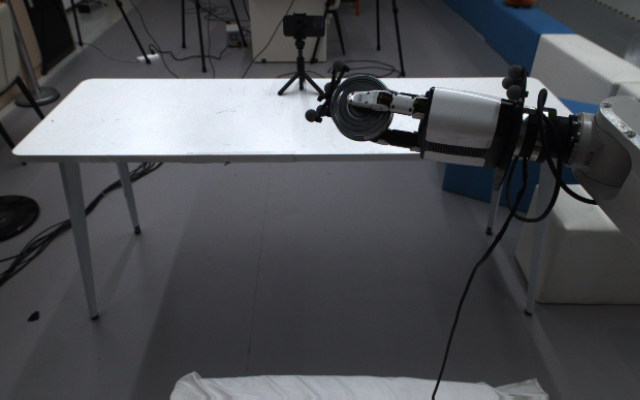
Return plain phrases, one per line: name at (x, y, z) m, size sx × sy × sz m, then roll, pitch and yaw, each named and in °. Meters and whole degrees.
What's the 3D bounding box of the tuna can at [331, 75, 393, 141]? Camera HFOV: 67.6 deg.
tuna can at (0.058, -0.127, 0.663) m, size 0.085 × 0.085 × 0.034 m, roll 9°, pitch -5°, yaw 10°
